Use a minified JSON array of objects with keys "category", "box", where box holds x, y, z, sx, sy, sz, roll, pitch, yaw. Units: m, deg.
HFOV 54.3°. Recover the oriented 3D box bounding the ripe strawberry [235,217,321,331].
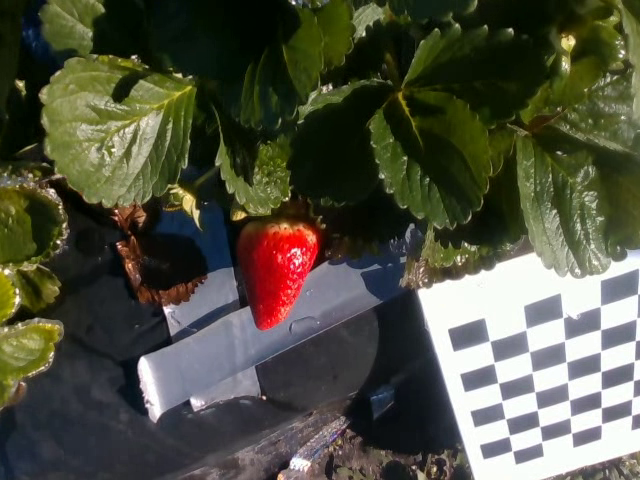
[{"category":"ripe strawberry","box":[-0.022,0.024,0.371,0.061,0.065,0.057,5,-6,-18]}]
